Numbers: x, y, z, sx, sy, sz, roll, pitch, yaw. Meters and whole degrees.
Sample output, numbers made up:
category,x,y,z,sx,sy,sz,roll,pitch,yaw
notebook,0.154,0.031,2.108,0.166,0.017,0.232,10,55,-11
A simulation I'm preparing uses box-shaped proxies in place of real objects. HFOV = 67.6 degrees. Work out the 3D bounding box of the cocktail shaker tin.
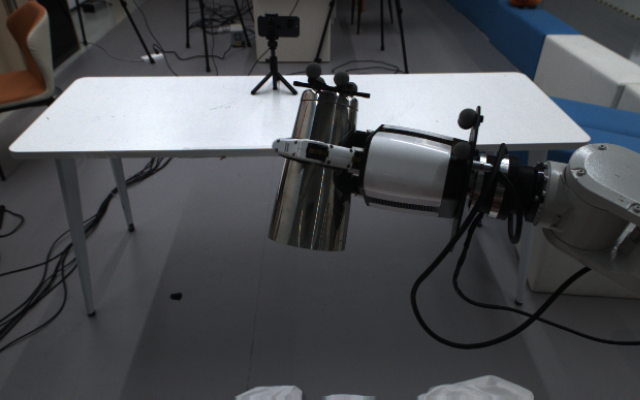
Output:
category,x,y,z,sx,sy,sz,roll,pitch,yaw
cocktail shaker tin,0.000,-0.034,0.557,0.093,0.170,0.093,10,3,-1
